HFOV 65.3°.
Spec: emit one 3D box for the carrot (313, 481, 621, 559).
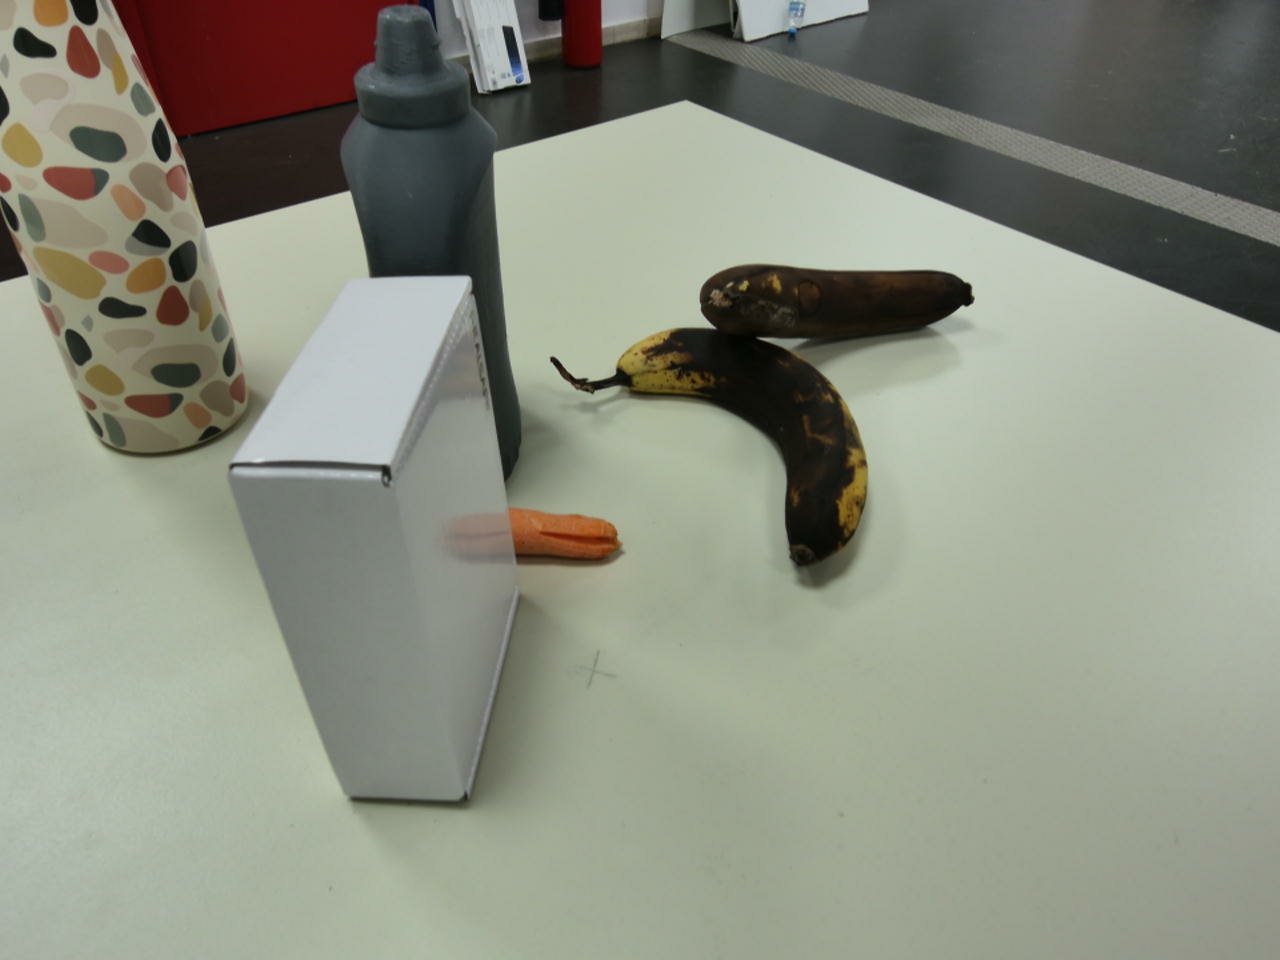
[{"bbox_3d":[-0.076,0.019,0.441,0.136,0.032,0.030,3,37,4],"label":"carrot"}]
